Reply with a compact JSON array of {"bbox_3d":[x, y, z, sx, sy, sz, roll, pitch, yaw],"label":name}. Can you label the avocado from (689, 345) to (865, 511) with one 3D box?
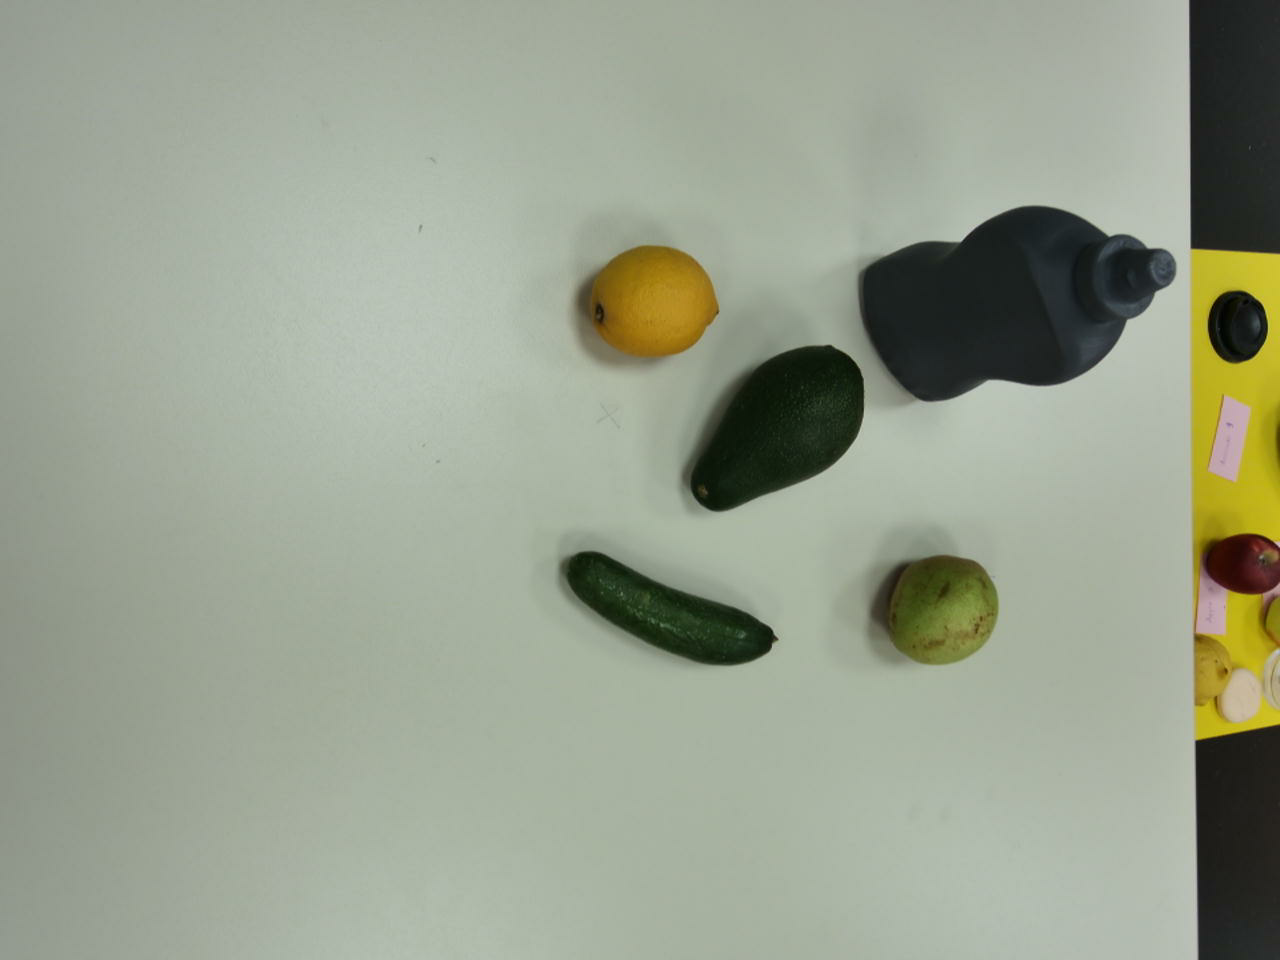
[{"bbox_3d":[0.078,-0.032,0.565,0.109,0.071,0.072,-24,99,-20],"label":"avocado"}]
